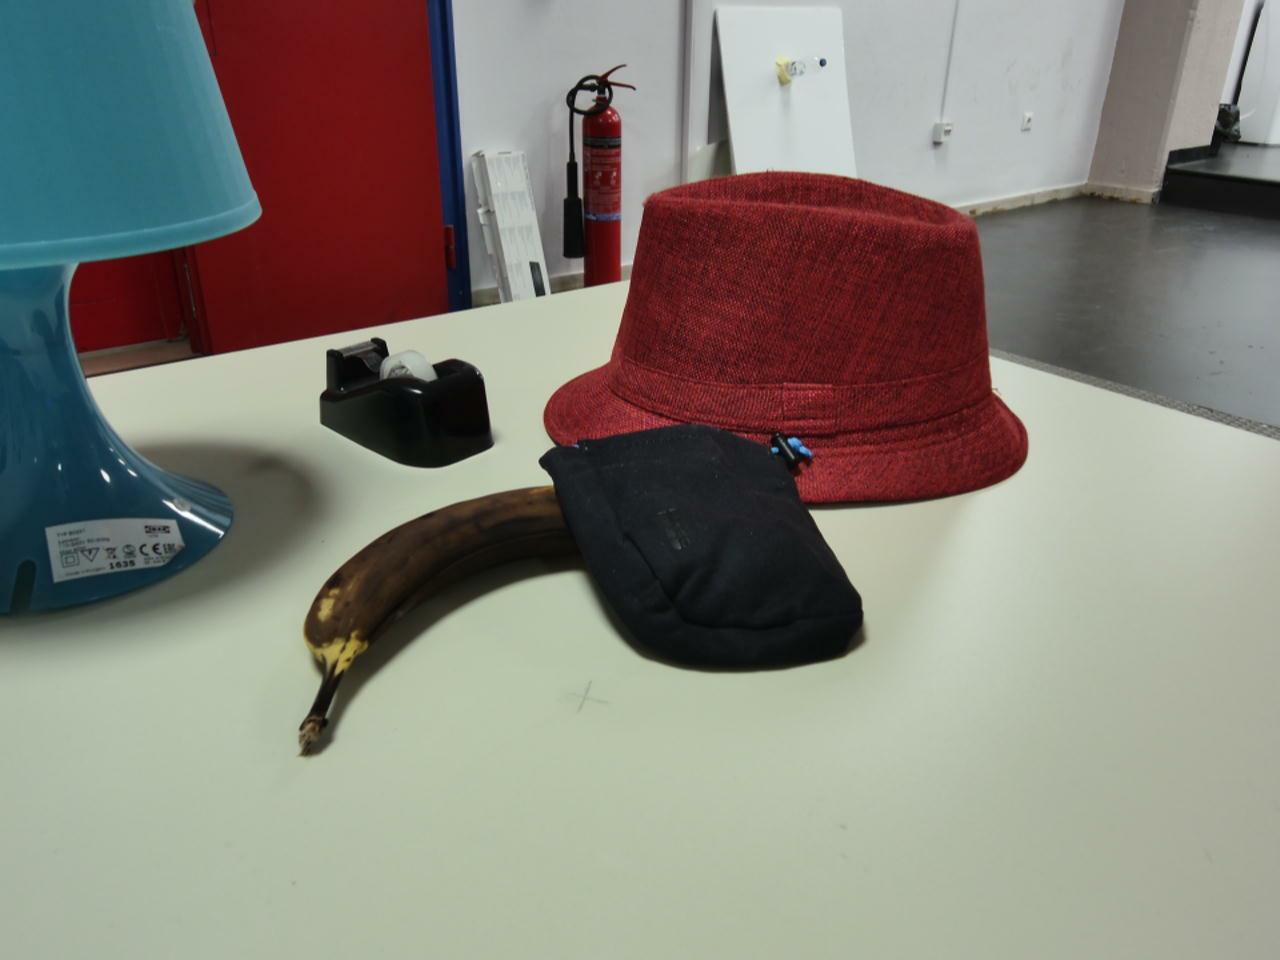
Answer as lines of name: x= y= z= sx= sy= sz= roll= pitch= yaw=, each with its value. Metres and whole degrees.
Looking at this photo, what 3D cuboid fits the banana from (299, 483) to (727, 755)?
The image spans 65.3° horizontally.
banana: x=-0.060 y=0.034 z=0.396 sx=0.188 sy=0.034 sz=0.091 roll=-17 pitch=29 yaw=-34
